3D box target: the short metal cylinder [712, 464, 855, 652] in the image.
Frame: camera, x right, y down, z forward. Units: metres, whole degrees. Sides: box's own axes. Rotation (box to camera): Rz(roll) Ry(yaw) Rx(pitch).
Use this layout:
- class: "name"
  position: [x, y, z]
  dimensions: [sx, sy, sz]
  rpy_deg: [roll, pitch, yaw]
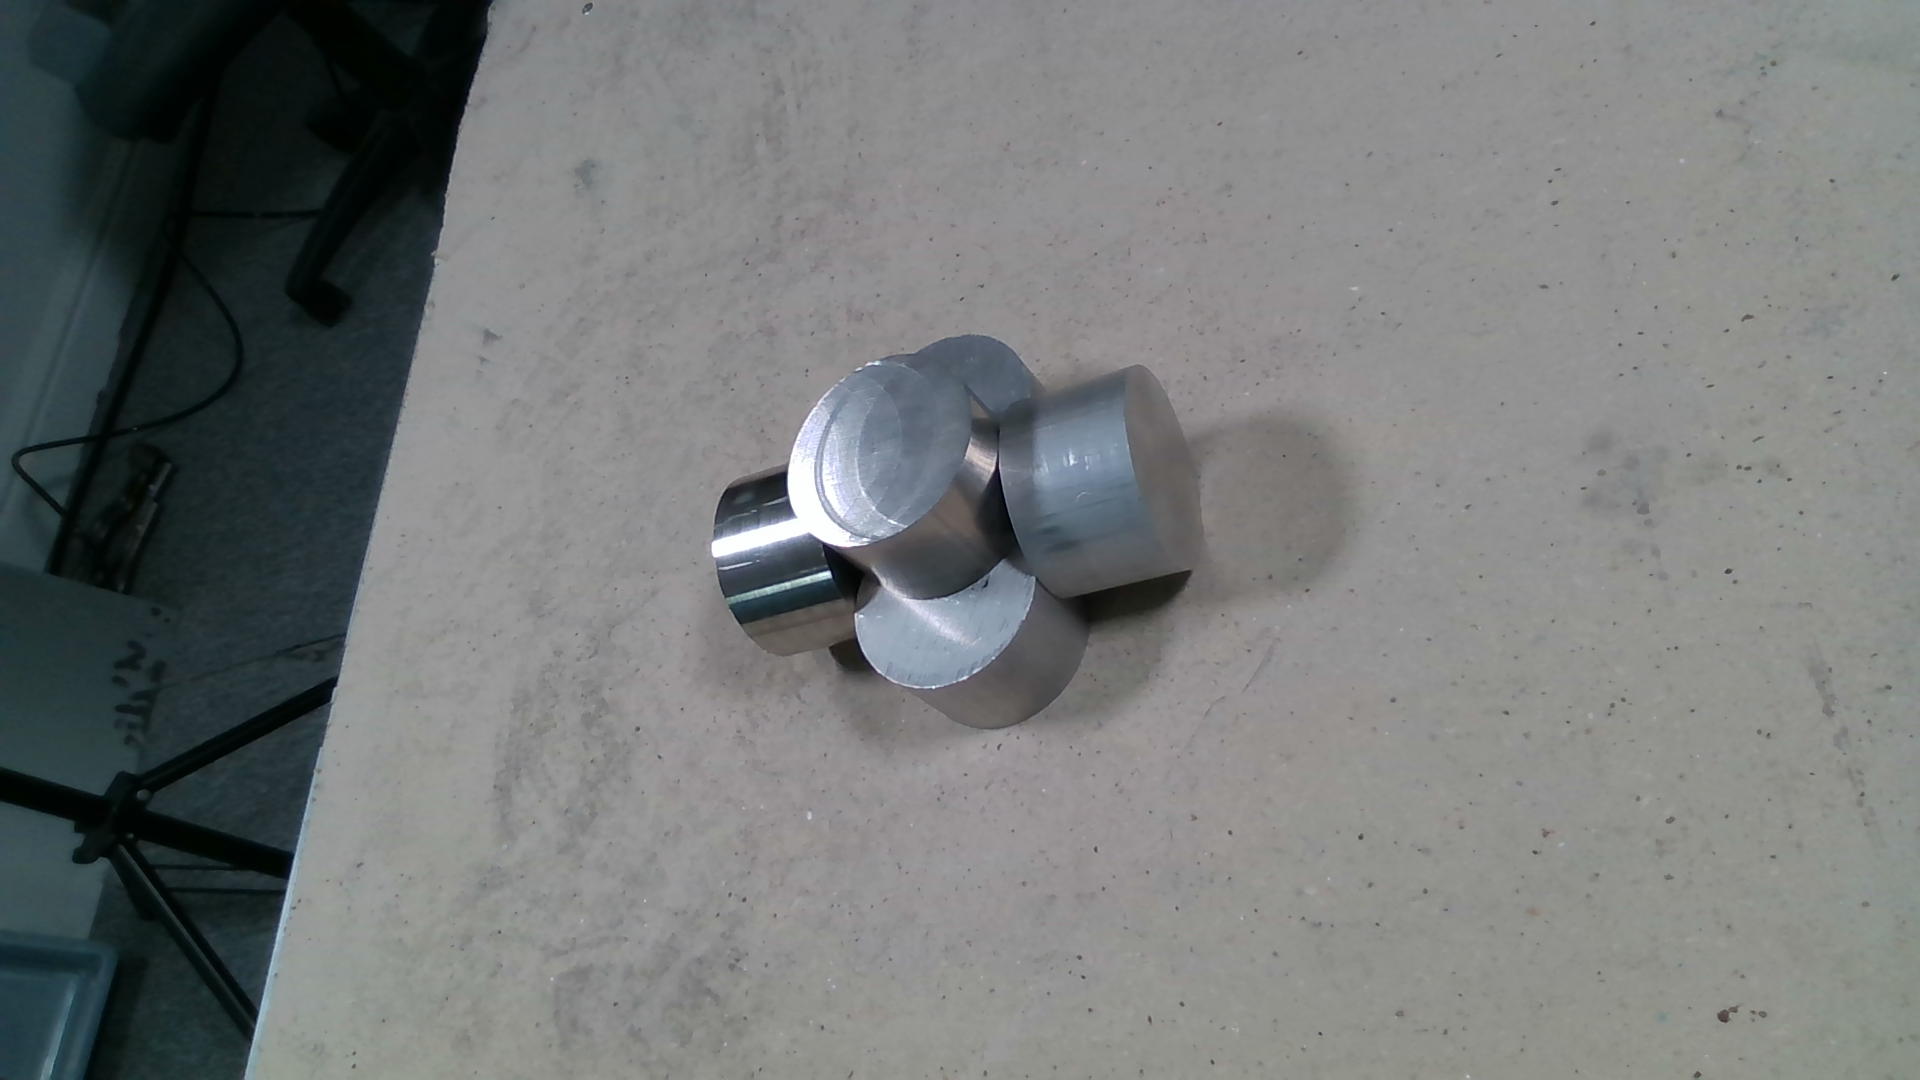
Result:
- class: "short metal cylinder"
  position: [-0.060, 0.005, 0.585]
  dimensions: [0.050, 0.080, 0.080]
  rpy_deg: [-14, 59, 25]

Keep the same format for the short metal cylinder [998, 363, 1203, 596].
- class: "short metal cylinder"
  position: [0.055, -0.022, 0.528]
  dimensions: [0.050, 0.080, 0.080]
  rpy_deg: [-15, 59, 25]

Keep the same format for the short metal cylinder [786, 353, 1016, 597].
- class: "short metal cylinder"
  position: [-0.019, -0.024, 0.529]
  dimensions: [0.080, 0.050, 0.080]
  rpy_deg: [-14, 59, 25]

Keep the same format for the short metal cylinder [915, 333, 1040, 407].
- class: "short metal cylinder"
  position: [0.004, -0.041, 0.588]
  dimensions: [0.080, 0.050, 0.080]
  rpy_deg: [-14, 59, 25]

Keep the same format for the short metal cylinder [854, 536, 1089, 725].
- class: "short metal cylinder"
  position: [0.005, 0.029, 0.551]
  dimensions: [0.080, 0.050, 0.080]
  rpy_deg: [-14, 59, 25]
